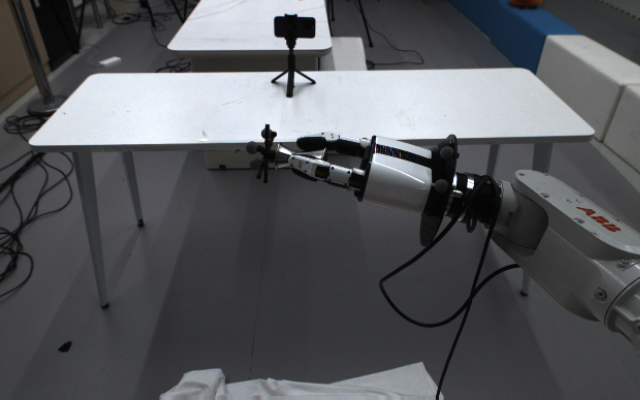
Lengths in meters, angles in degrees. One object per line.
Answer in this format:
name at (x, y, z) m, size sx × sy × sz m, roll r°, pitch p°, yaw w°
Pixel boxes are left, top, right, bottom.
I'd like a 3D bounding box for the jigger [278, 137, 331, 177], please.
jigger at (-0.019, -0.063, 0.688) m, size 0.071 × 0.043 × 0.043 m, roll 7°, pitch 35°, yaw 7°
